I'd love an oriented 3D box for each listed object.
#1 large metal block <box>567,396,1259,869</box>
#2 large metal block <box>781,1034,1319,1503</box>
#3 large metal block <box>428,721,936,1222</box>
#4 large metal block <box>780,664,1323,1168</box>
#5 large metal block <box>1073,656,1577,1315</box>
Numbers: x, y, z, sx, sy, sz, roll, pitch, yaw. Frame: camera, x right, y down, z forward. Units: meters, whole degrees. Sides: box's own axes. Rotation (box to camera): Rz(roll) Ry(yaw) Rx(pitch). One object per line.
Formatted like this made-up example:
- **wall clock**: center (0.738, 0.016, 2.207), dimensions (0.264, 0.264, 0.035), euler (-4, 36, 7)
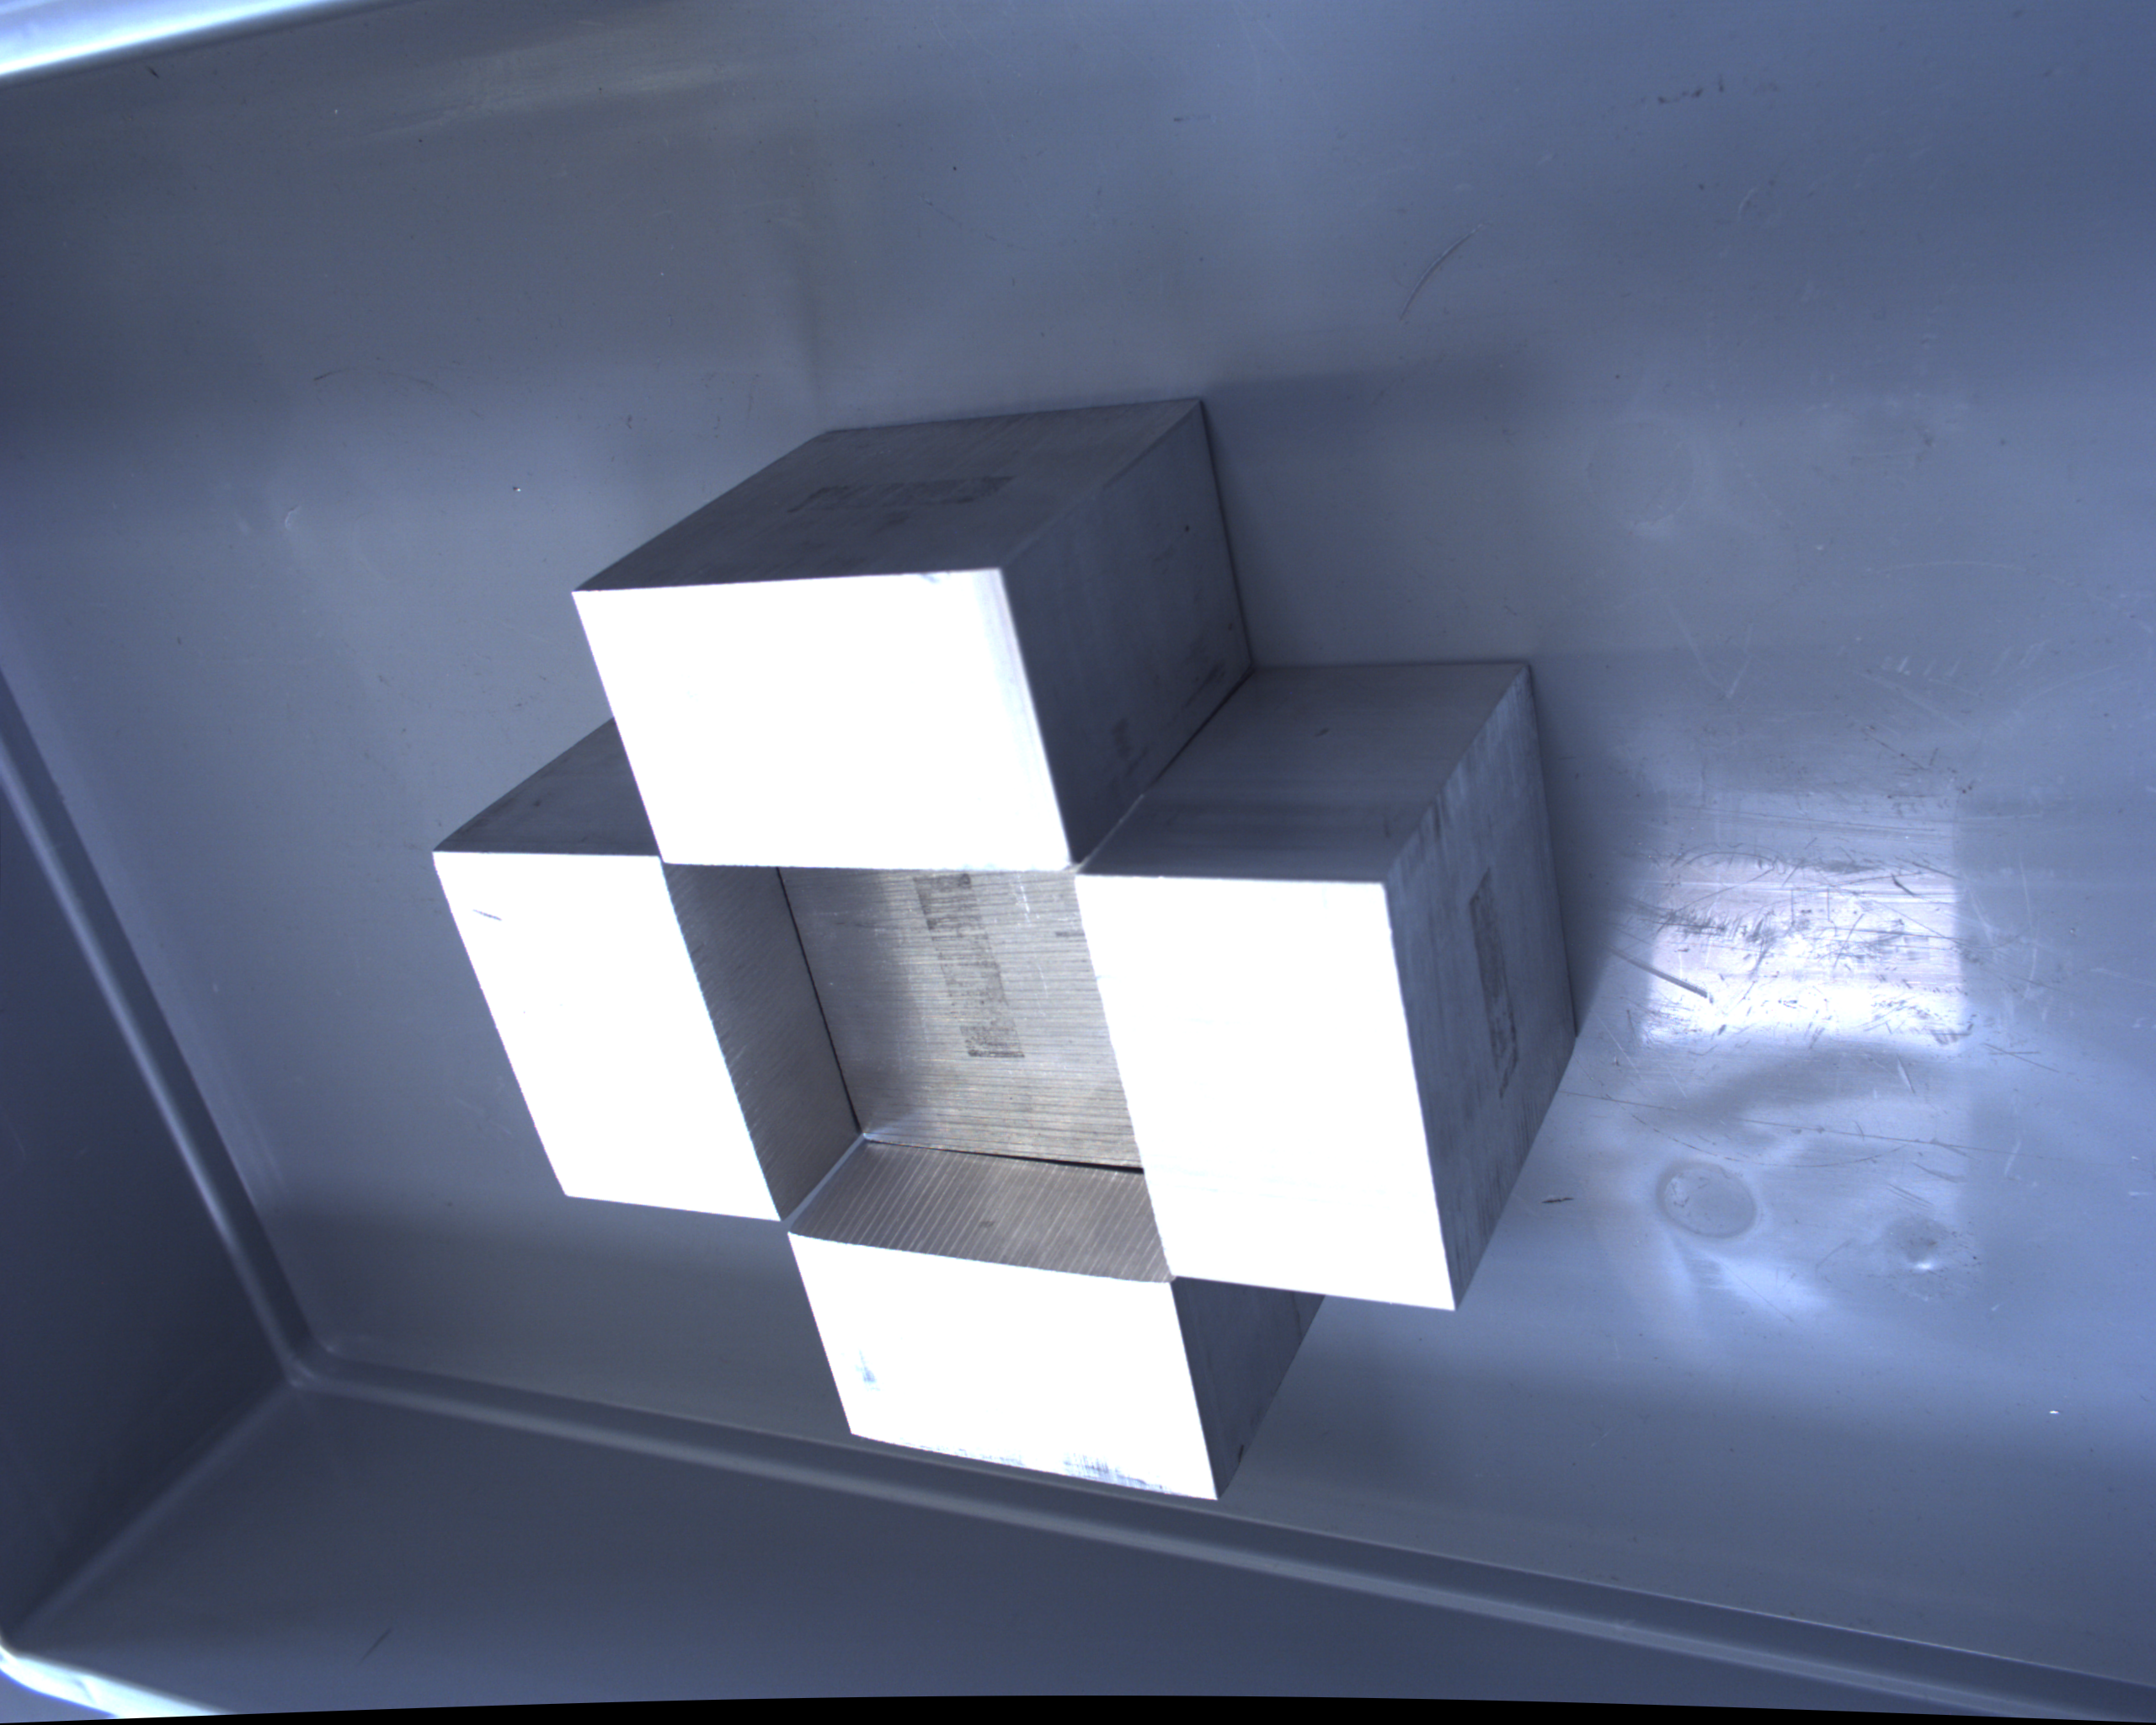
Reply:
- **large metal block**: center (-0.024, -0.040, 0.359), dimensions (0.080, 0.080, 0.050), euler (1, 119, 28)
- **large metal block**: center (0.002, 0.074, 0.416), dimensions (0.080, 0.080, 0.050), euler (2, 119, 27)
- **large metal block**: center (-0.071, 0.013, 0.418), dimensions (0.050, 0.080, 0.080), euler (1, 119, 28)
- **large metal block**: center (-0.005, 0.010, 0.398), dimensions (0.080, 0.050, 0.080), euler (1, 119, 28)
- **large metal block**: center (0.047, 0.018, 0.358), dimensions (0.050, 0.080, 0.080), euler (1, 119, 28)
